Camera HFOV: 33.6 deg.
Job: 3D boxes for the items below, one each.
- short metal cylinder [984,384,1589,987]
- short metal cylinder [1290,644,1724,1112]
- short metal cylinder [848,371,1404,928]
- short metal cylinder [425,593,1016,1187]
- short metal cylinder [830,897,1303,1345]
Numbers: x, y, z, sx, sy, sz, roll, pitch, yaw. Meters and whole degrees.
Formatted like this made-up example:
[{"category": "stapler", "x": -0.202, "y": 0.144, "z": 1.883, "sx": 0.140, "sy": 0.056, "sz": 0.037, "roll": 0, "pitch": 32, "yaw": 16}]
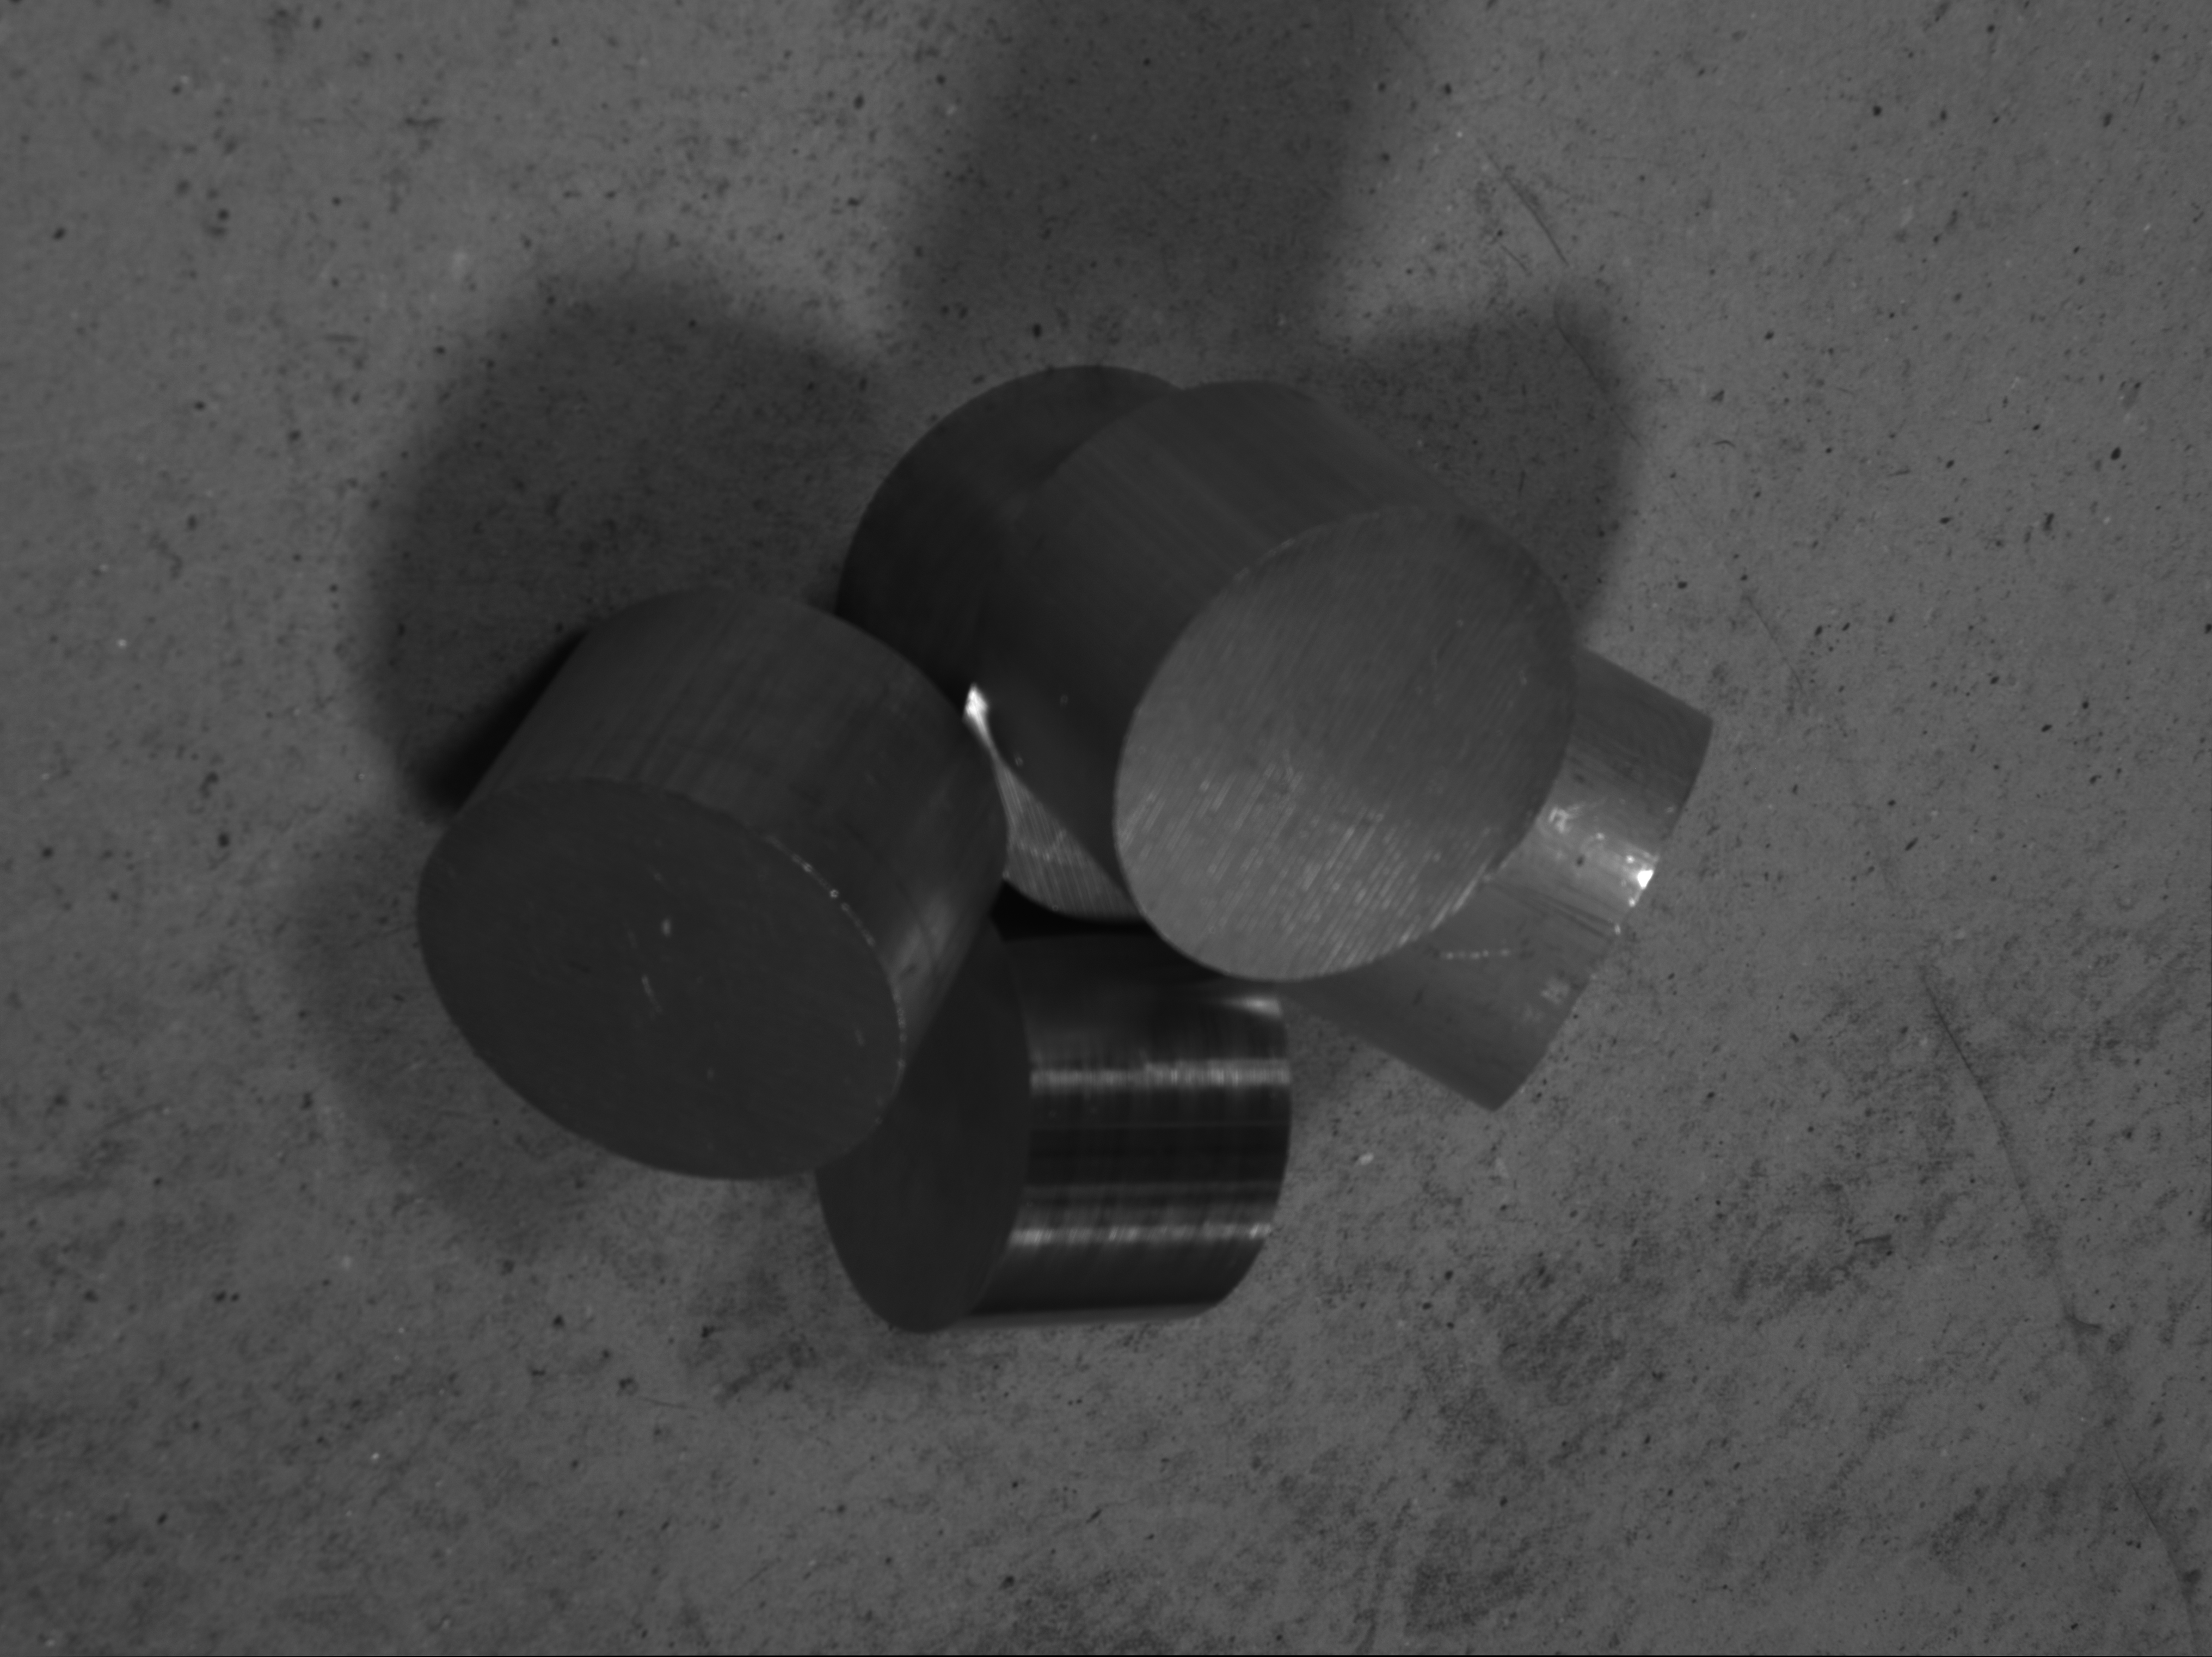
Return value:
[{"category": "short metal cylinder", "x": 0.028, "y": -0.022, "z": 0.571, "sx": 0.080, "sy": 0.050, "sz": 0.080, "roll": -15, "pitch": 125, "yaw": -22}, {"category": "short metal cylinder", "x": 0.067, "y": 0.003, "z": 0.649, "sx": 0.050, "sy": 0.080, "sz": 0.080, "roll": 28, "pitch": 105, "yaw": 1}, {"category": "short metal cylinder", "x": 0.003, "y": -0.030, "z": 0.618, "sx": 0.080, "sy": 0.050, "sz": 0.080, "roll": -15, "pitch": 125, "yaw": -22}, {"category": "short metal cylinder", "x": -0.060, "y": 0.010, "z": 0.580, "sx": 0.080, "sy": 0.050, "sz": 0.080, "roll": 11, "pitch": 130, "yaw": 13}, {"category": "short metal cylinder", "x": -0.009, "y": 0.049, "z": 0.639, "sx": 0.050, "sy": 0.080, "sz": 0.080, "roll": 2, "pitch": 117, "yaw": -31}]
